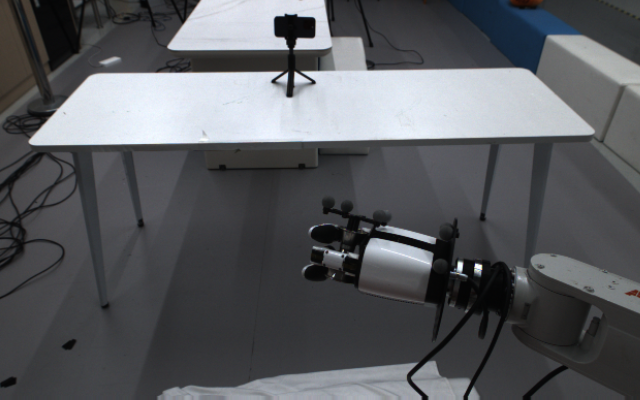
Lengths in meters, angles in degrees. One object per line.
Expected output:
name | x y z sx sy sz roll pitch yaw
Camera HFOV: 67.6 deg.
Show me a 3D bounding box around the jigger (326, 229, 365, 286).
jigger | 0.038 0.072 0.644 0.043 0.071 0.043 14 1 0
